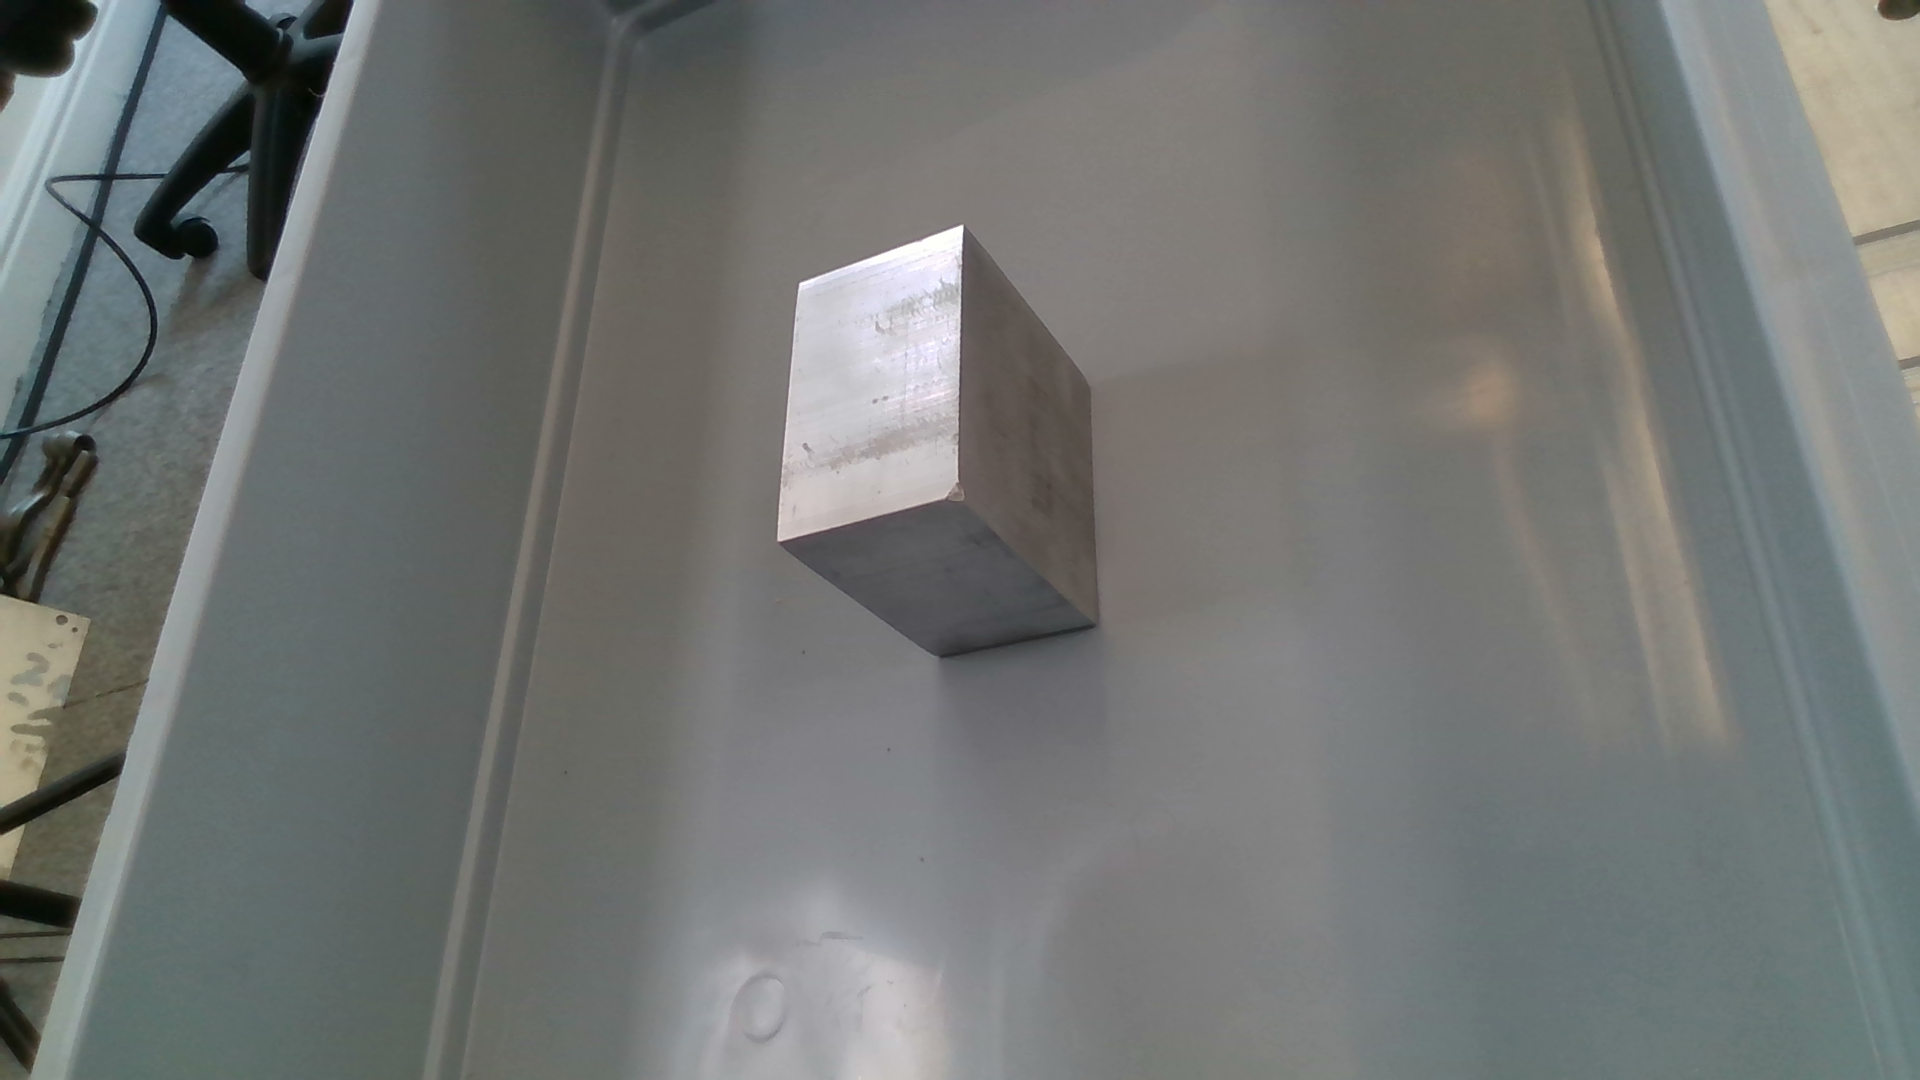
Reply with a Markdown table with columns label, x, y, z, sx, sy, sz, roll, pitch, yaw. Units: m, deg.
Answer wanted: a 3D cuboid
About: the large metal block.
| label | x | y | z | sx | sy | sz | roll | pitch | yaw |
| --- | --- | --- | --- | --- | --- | --- | --- | --- | --- |
| large metal block | -0.003 | -0.023 | 0.369 | 0.050 | 0.080 | 0.080 | -13 | 60 | 26 |
